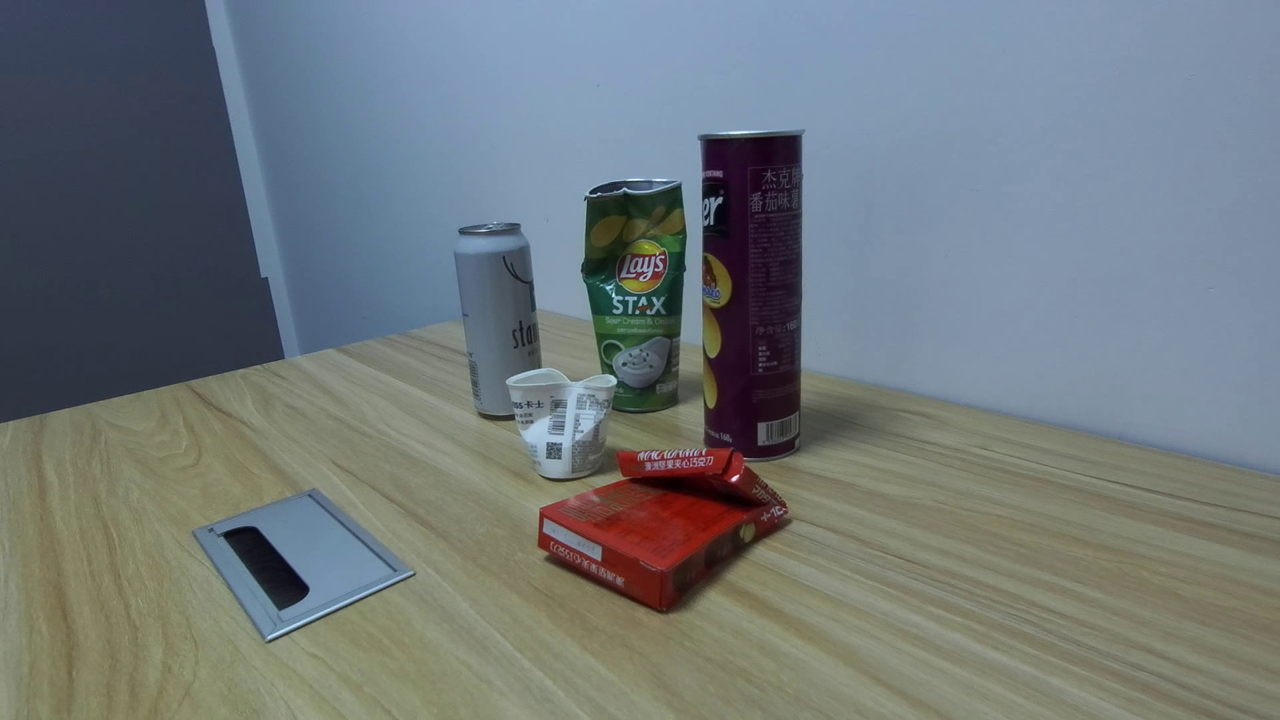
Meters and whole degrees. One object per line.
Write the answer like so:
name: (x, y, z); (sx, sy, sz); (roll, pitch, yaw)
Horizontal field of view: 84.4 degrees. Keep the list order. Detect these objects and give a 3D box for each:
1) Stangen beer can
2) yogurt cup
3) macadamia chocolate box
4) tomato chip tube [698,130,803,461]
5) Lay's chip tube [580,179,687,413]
Stangen beer can: (-0.126, -0.034, 0.643); (0.067, 0.171, 0.067); (-3, 16, 1)
yogurt cup: (-0.056, 0.046, 0.526); (0.075, 0.071, 0.053); (-8, 19, -10)
macadamia chocolate box: (0.009, 0.093, 0.432); (0.111, 0.056, 0.127); (-8, 12, 44)
tomato chip tube: (0.082, -0.046, 0.523); (0.076, 0.234, 0.080); (1, 16, 12)
Lay's chip tube: (-0.003, -0.057, 0.632); (0.077, 0.201, 0.069); (-14, 20, -22)
